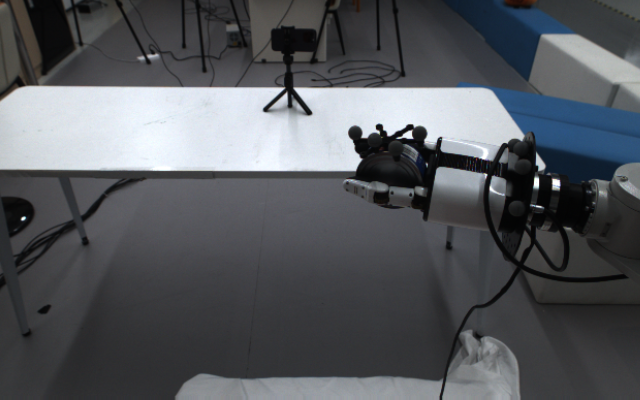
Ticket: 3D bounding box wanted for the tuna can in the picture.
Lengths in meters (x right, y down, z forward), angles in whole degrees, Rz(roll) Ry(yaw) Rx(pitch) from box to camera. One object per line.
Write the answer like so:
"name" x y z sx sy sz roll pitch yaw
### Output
"tuna can" 0.093 -0.034 0.616 0.085 0.085 0.034 14 41 16
